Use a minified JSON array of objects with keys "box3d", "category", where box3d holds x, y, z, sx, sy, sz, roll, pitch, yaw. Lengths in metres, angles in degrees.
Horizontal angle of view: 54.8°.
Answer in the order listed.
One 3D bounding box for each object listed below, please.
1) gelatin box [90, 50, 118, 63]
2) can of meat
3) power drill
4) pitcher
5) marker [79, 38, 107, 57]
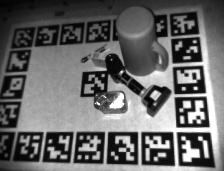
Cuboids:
[{"box3d":[-0.028,-0.105,0.789,0.089,0.074,0.030,7,78,13],"category":"gelatin box"},{"box3d":[-0.003,0.046,0.726,0.101,0.084,0.057,-5,69,10],"category":"can of meat"},{"box3d":[0.054,-0.034,0.691,0.186,0.186,0.057,32,84,14],"category":"power drill"},{"box3d":[0.096,-0.143,0.693,0.186,0.245,0.133,28,83,26],"category":"pitcher"},{"box3d":[-0.076,-0.145,0.838,0.121,0.020,0.019,-30,69,2],"category":"marker"}]
